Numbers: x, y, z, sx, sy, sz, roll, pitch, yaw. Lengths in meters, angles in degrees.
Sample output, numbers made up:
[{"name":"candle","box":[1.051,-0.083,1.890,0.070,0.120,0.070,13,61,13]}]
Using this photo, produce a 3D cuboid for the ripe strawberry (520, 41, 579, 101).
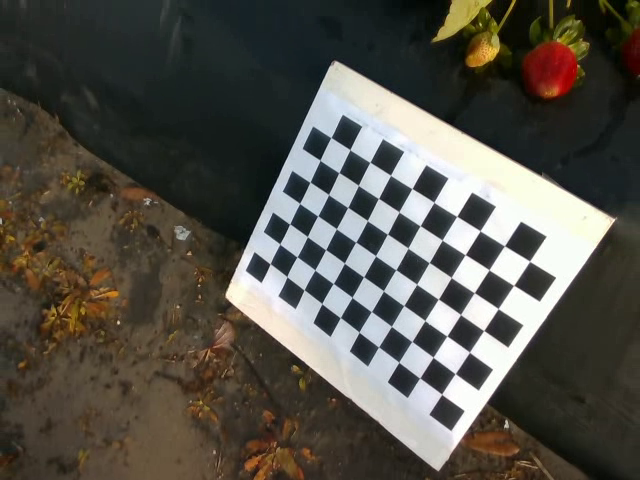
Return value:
[{"name":"ripe strawberry","box":[0.190,-0.139,0.552,0.050,0.050,0.065,-9,35,33]}]
